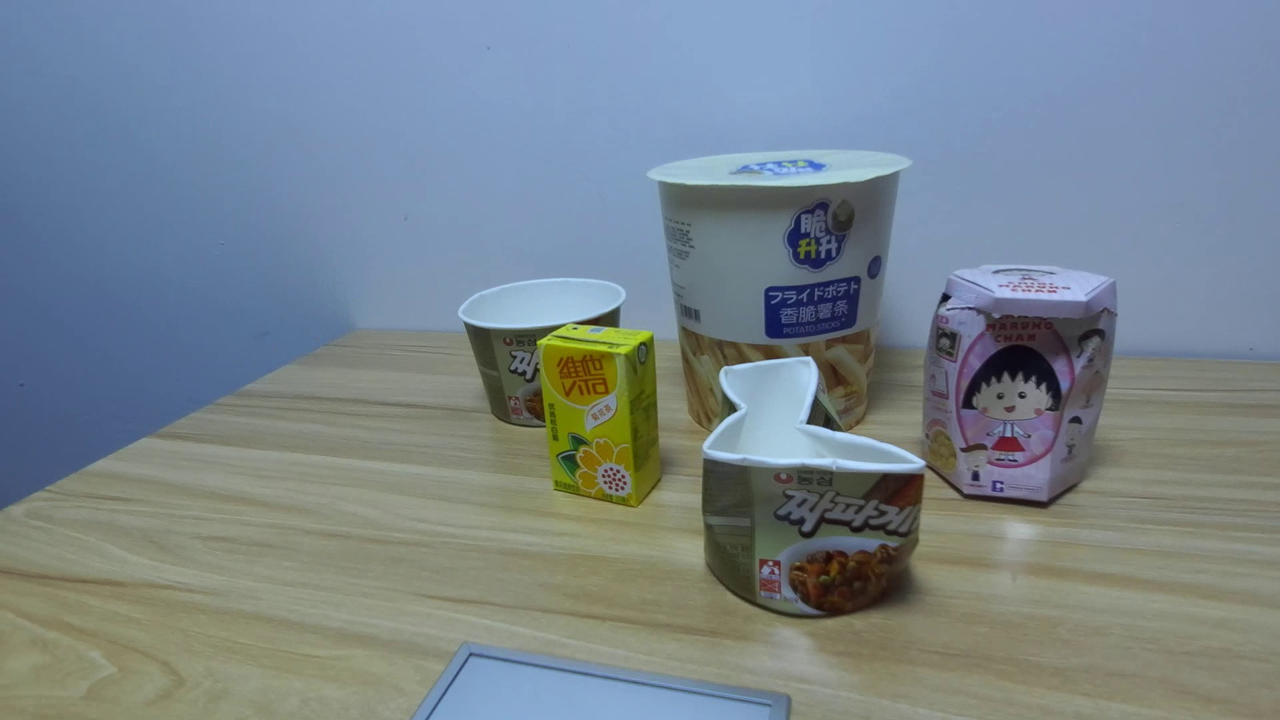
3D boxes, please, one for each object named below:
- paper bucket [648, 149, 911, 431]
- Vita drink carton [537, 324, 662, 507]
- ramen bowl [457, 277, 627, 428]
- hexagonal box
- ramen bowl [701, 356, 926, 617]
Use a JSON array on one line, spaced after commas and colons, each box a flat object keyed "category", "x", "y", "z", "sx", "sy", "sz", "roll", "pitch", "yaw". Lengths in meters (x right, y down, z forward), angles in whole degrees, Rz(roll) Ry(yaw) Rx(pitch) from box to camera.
[{"category": "paper bucket", "x": 0.104, "y": -0.052, "z": 0.548, "sx": 0.198, "sy": 0.195, "sz": 0.198, "roll": -3, "pitch": 21, "yaw": 2}, {"category": "Vita drink carton", "x": -0.024, "y": 0.035, "z": 0.464, "sx": 0.066, "sy": 0.109, "sz": 0.044, "roll": 7, "pitch": 24, "yaw": 26}, {"category": "ramen bowl", "x": -0.080, "y": -0.008, "z": 0.616, "sx": 0.140, "sy": 0.095, "sz": 0.140, "roll": -4, "pitch": 23, "yaw": 2}, {"category": "hexagonal box", "x": 0.234, "y": 0.013, "z": 0.447, "sx": 0.090, "sy": 0.134, "sz": 0.090, "roll": -13, "pitch": 22, "yaw": -29}, {"category": "ramen bowl", "x": 0.090, "y": 0.063, "z": 0.388, "sx": 0.111, "sy": 0.093, "sz": 0.128, "roll": 0, "pitch": 22, "yaw": 11}]
